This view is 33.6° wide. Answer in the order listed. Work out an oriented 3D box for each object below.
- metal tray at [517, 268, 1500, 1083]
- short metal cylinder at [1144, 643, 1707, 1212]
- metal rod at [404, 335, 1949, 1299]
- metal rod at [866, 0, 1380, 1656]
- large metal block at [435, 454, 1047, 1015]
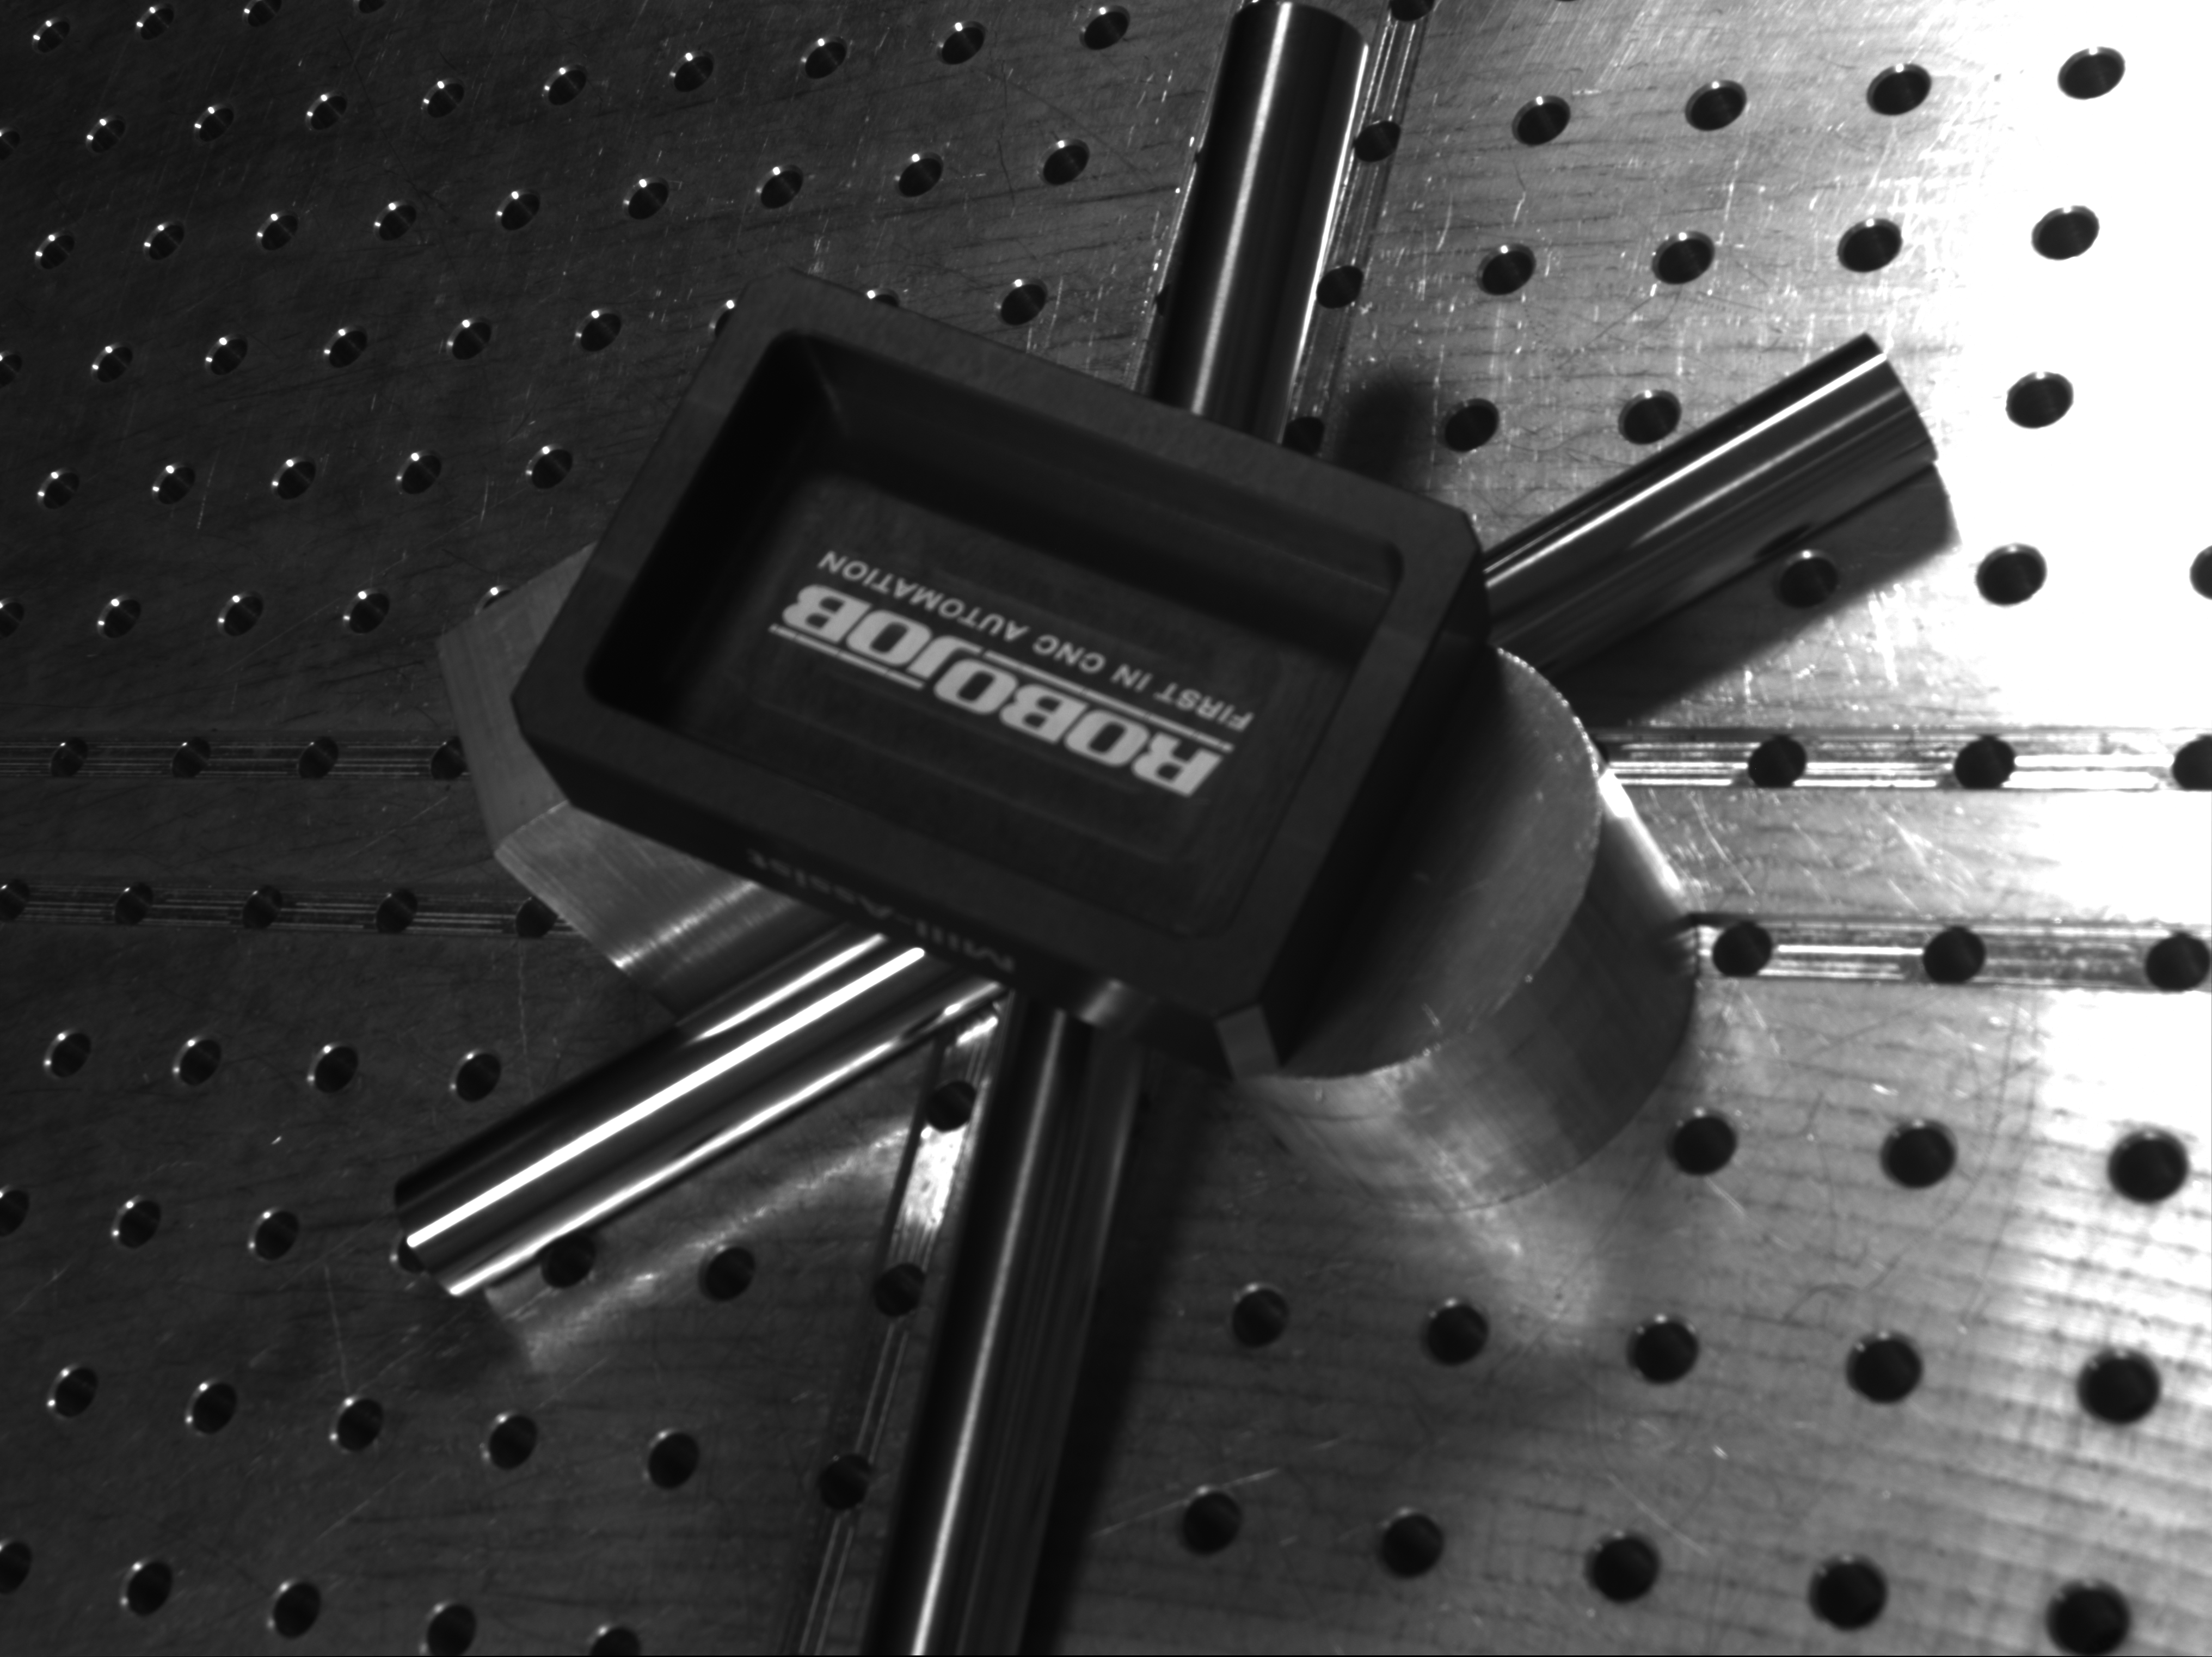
[{"bbox_3d":[-0.015,-0.026,0.577,0.130,0.030,0.090,22,72,17],"label":"metal tray"},{"bbox_3d":[0.051,0.015,0.593,0.080,0.050,0.080,-13,56,21],"label":"short metal cylinder"},{"bbox_3d":[0.008,0.001,0.643,0.300,0.025,0.025,-30,52,9],"label":"metal rod"},{"bbox_3d":[0.005,0.000,0.616,0.025,0.025,0.300,4,72,30],"label":"metal rod"},{"bbox_3d":[-0.059,-0.015,0.652,0.080,0.080,0.050,-30,52,9],"label":"large metal block"}]
